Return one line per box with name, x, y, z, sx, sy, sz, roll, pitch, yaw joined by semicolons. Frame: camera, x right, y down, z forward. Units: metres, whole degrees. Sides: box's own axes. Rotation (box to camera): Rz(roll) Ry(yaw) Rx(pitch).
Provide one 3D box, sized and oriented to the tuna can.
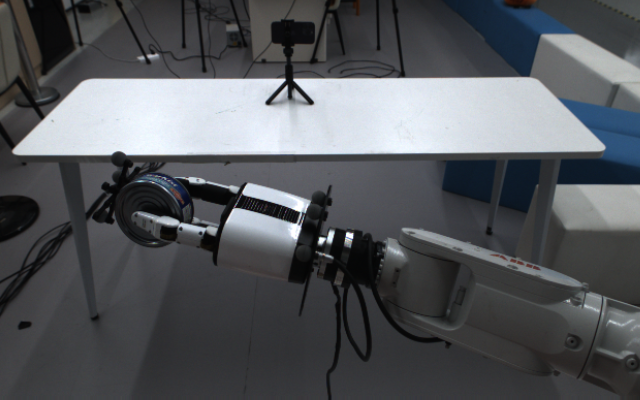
tuna can;-0.194;0.012;0.571;0.085;0.085;0.034;6;20;6
